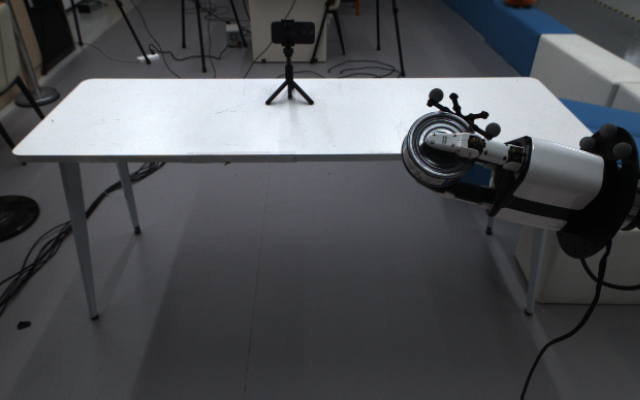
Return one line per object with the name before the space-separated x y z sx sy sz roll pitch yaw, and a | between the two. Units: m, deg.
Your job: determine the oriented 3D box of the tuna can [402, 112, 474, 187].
tuna can | 0.144 -0.063 0.576 0.085 0.034 0.085 0 74 0
